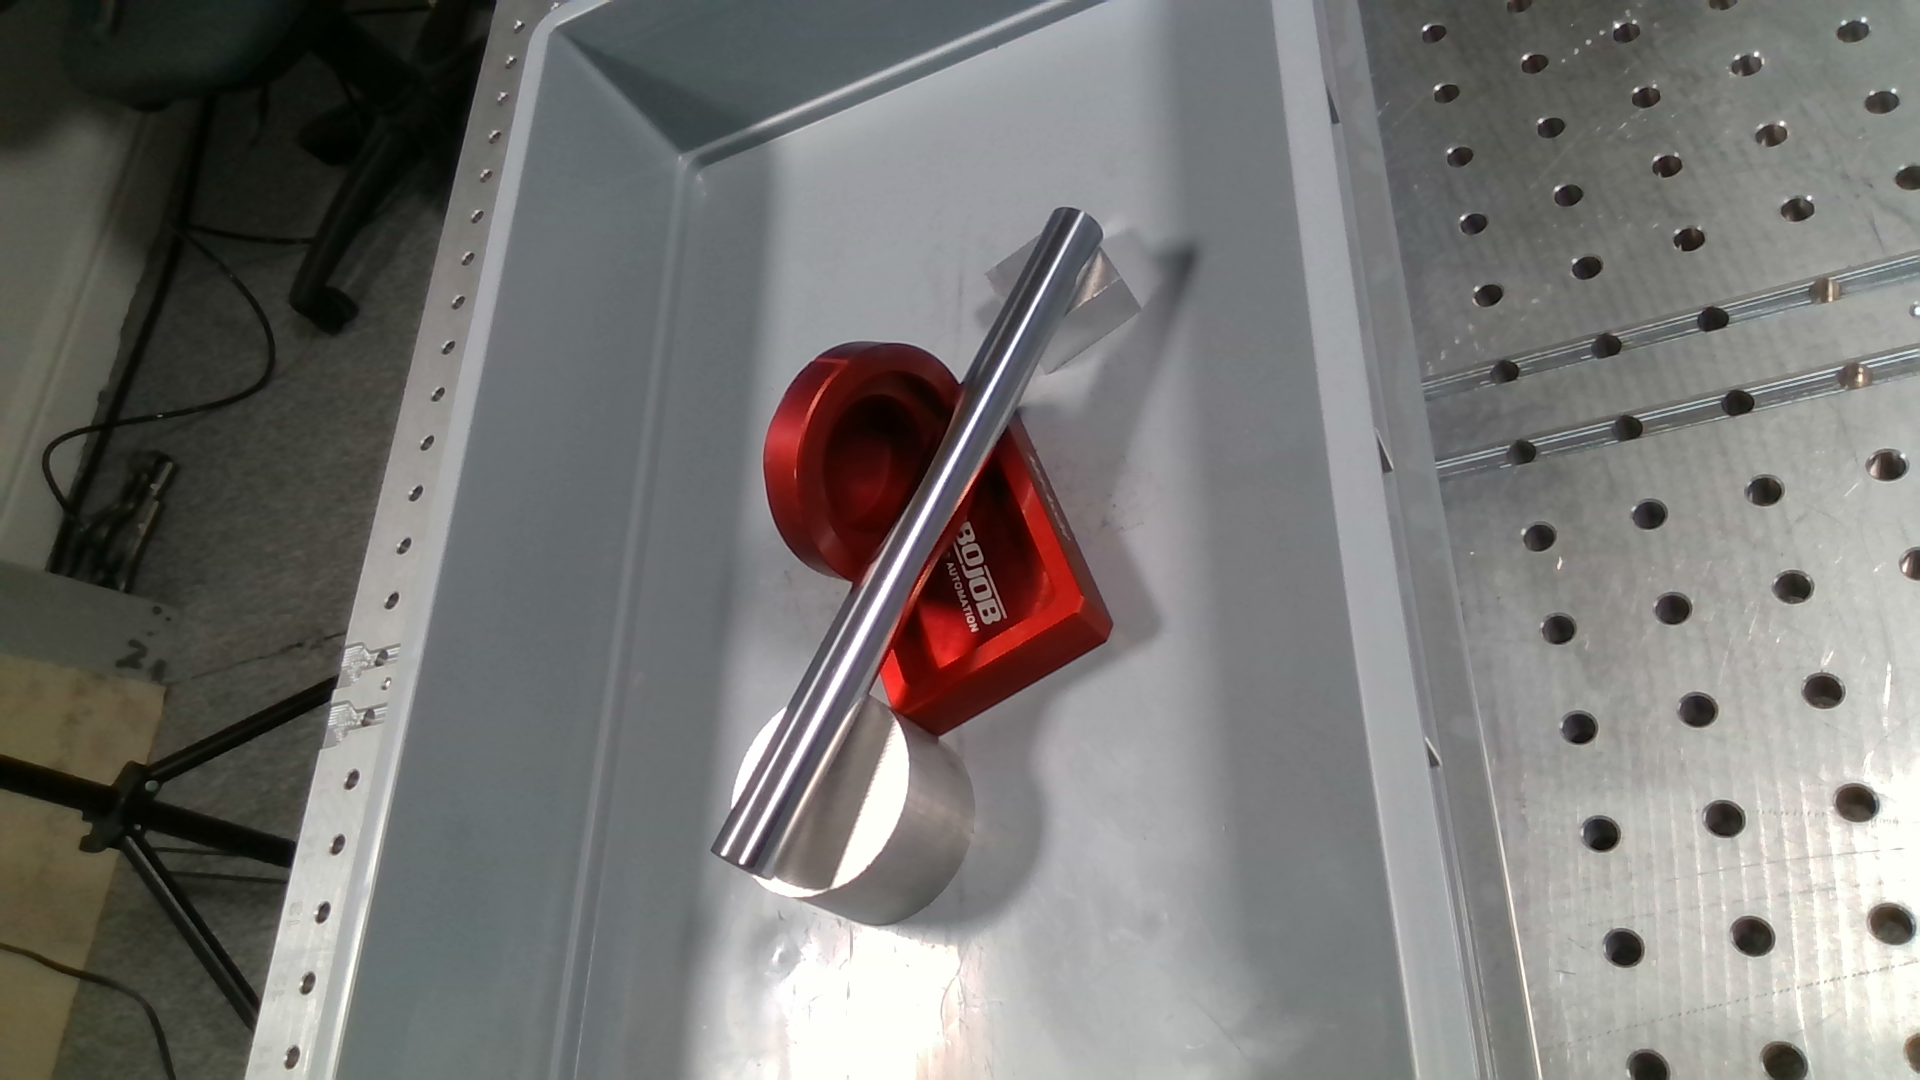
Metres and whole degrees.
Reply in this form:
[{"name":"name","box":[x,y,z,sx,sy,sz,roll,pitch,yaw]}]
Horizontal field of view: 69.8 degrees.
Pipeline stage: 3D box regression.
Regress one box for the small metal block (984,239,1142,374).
[{"name":"small metal block","box":[0.045,-0.111,0.615,0.050,0.025,0.050,-34,53,12]}]

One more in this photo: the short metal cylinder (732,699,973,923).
[{"name":"short metal cylinder","box":[-0.042,0.105,0.538,0.080,0.050,0.080,-14,59,25]}]

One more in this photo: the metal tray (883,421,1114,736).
[{"name":"metal tray","box":[-0.001,0.005,0.578,0.090,0.030,0.130,-31,53,14]}]

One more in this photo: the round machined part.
[{"name":"round machined part","box":[-0.042,-0.033,0.564,0.042,0.098,0.098,12,72,44]}]

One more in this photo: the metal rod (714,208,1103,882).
[{"name":"metal rod","box":[-0.014,-0.008,0.544,0.025,0.025,0.299,13,66,36]}]
